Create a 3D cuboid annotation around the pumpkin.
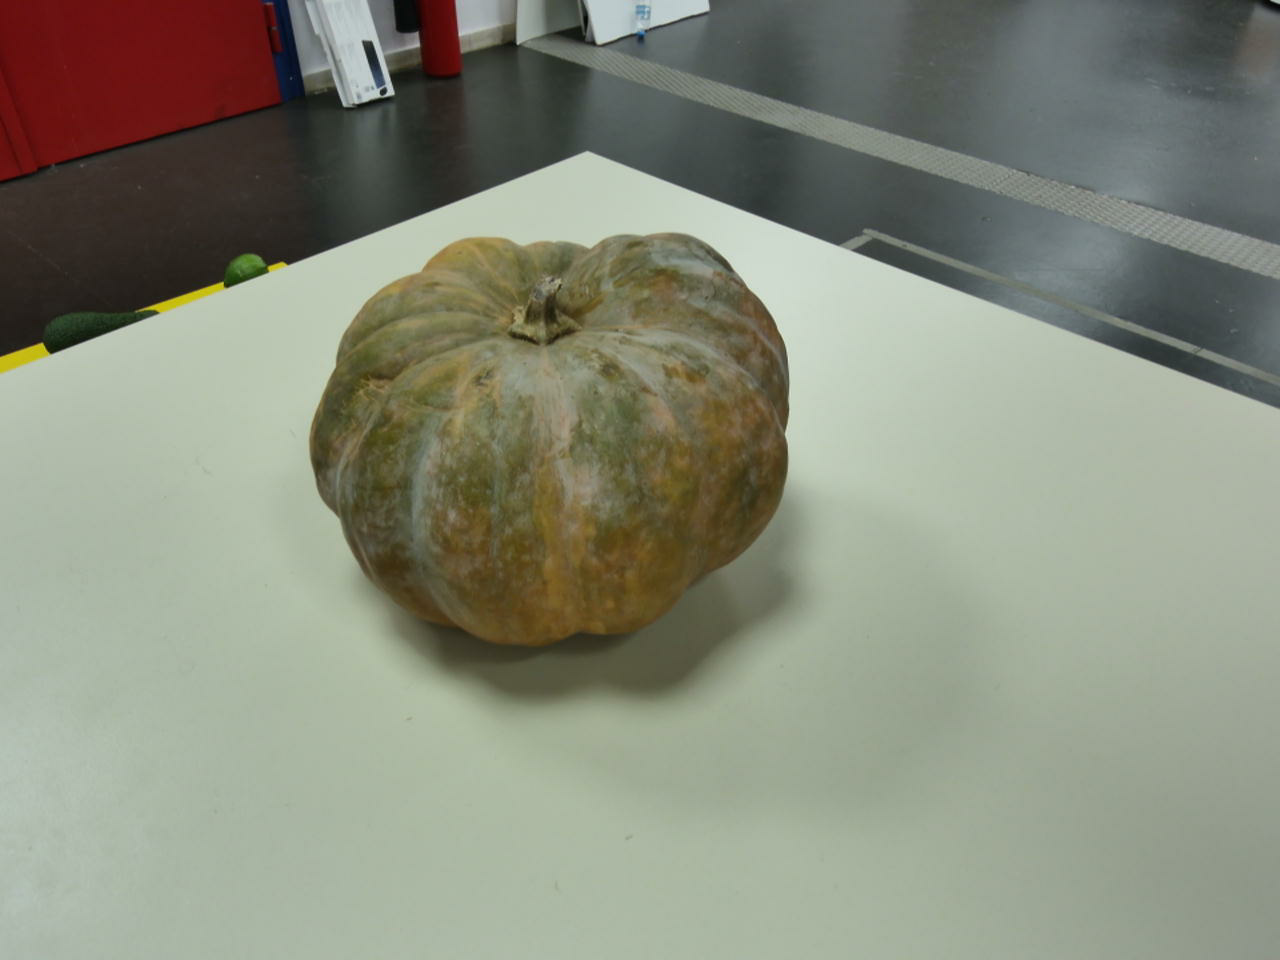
[{"bbox_3d":[-0.045,-0.028,0.520,0.252,0.169,0.251,0,38,0],"label":"pumpkin"}]
